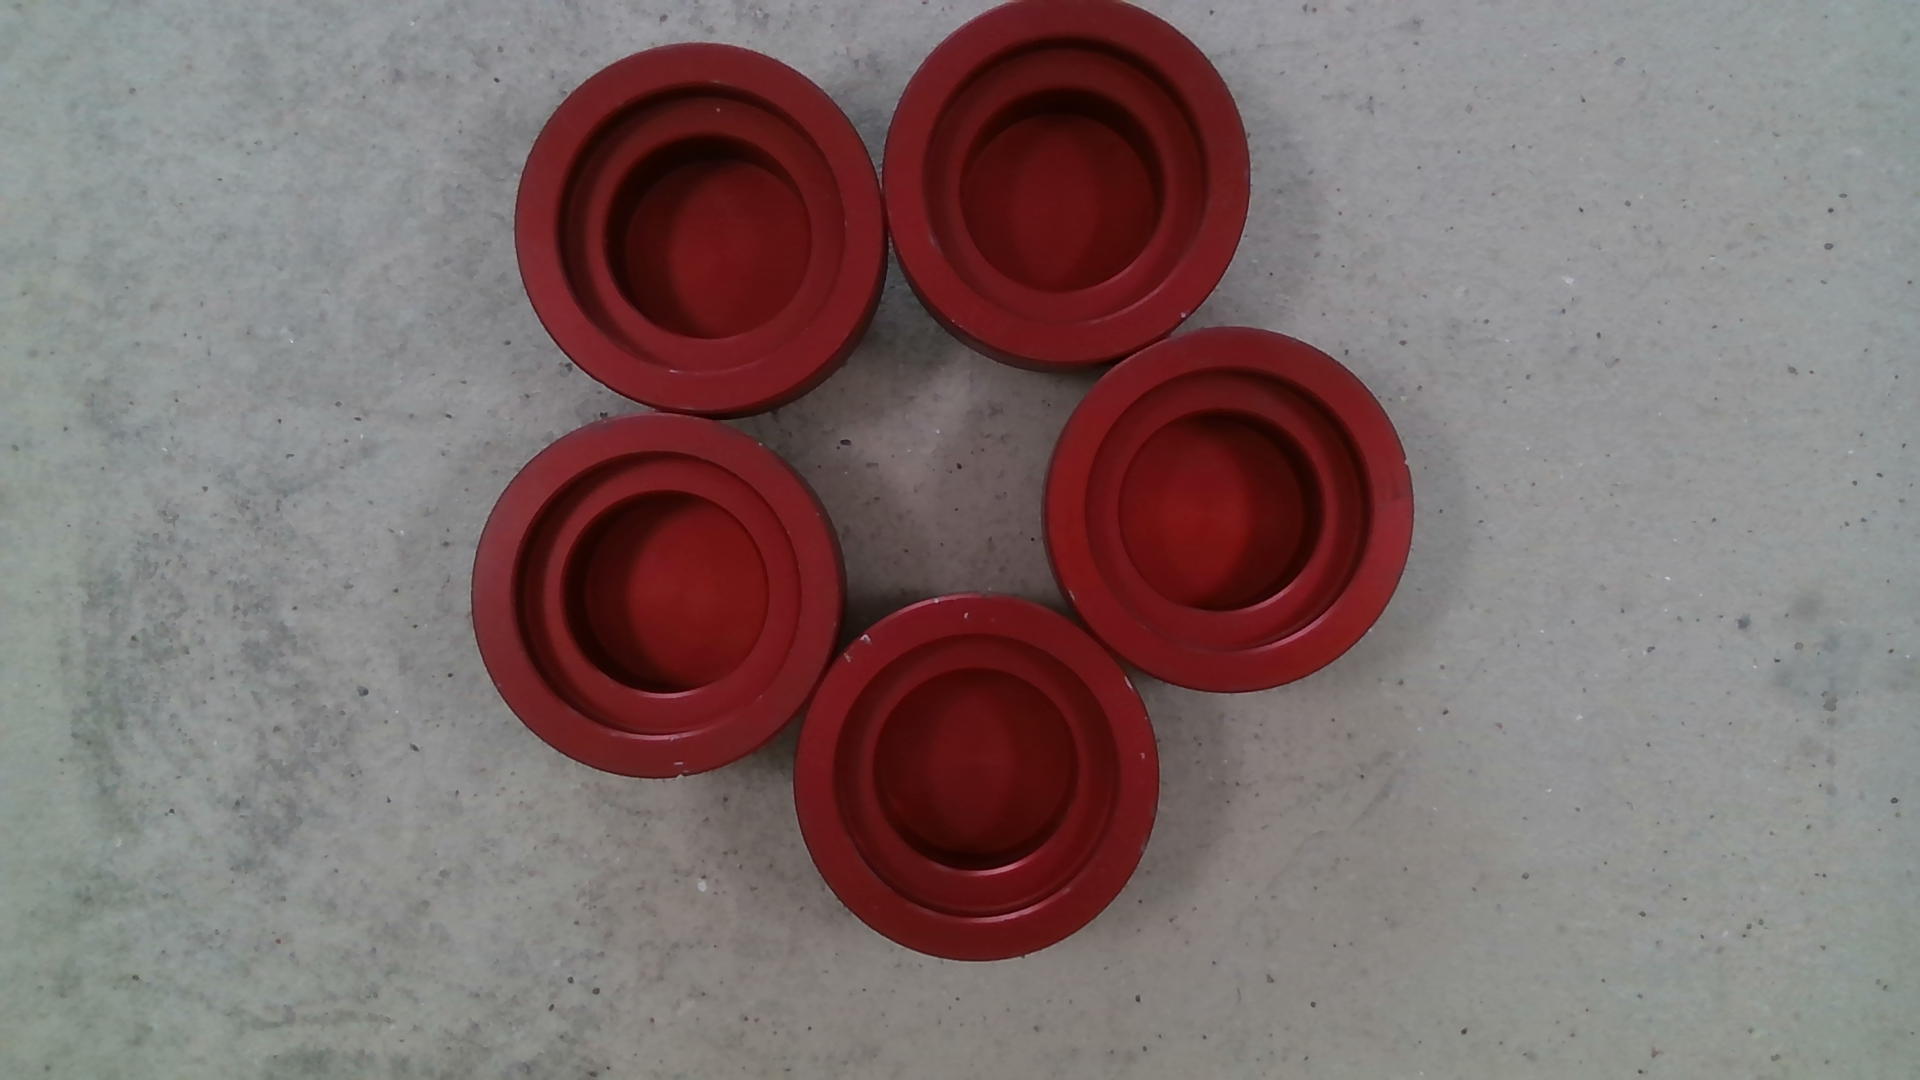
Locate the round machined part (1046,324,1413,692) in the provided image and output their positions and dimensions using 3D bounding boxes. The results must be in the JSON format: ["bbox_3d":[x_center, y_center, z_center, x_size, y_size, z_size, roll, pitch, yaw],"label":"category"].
[{"bbox_3d":[0.072,-0.009,0.386,0.098,0.042,0.098,0,91,-1],"label":"round machined part"}]

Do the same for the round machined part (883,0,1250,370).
[{"bbox_3d":[0.028,-0.097,0.387,0.098,0.042,0.098,0,90,-1],"label":"round machined part"}]

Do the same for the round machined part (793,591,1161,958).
[{"bbox_3d":[0.004,0.062,0.387,0.098,0.042,0.098,0,91,-1],"label":"round machined part"}]

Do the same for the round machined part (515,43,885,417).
[{"bbox_3d":[-0.069,-0.083,0.386,0.098,0.042,0.098,0,91,-1],"label":"round machined part"}]

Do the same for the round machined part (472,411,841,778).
[{"bbox_3d":[-0.081,0.014,0.387,0.098,0.042,0.098,0,91,-1],"label":"round machined part"}]
